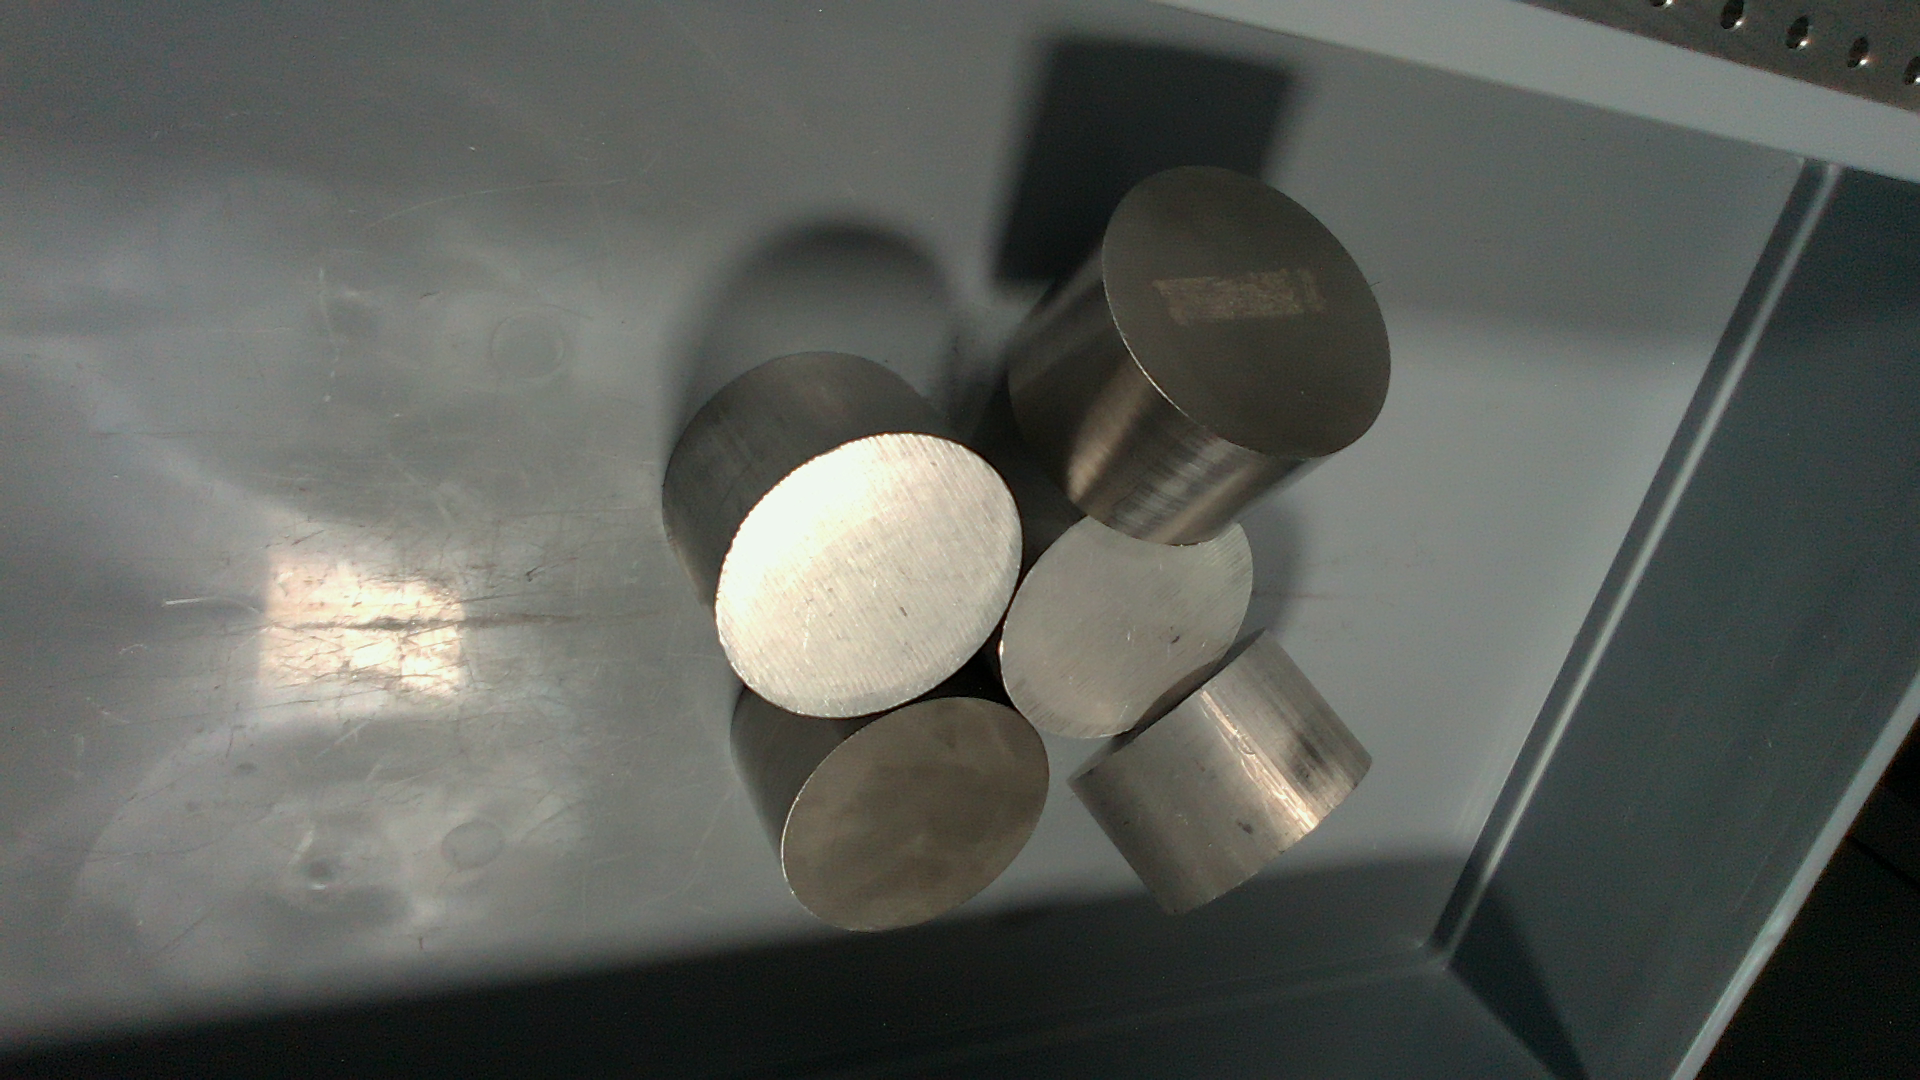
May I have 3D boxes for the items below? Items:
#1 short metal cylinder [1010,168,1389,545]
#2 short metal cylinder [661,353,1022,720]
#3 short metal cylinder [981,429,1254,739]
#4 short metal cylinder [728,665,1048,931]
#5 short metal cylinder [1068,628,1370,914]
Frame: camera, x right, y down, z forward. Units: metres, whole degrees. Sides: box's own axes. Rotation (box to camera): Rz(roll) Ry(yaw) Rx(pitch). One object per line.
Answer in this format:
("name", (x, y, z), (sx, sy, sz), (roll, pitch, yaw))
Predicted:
("short metal cylinder", (0.059, -0.045, 0.347), (0.080, 0.080, 0.050), (-3, 158, -27))
("short metal cylinder", (-0.031, -0.001, 0.353), (0.080, 0.050, 0.080), (-14, 124, -21))
("short metal cylinder", (0.037, 0.010, 0.397), (0.080, 0.050, 0.080), (-14, 124, -21))
("short metal cylinder", (-0.021, 0.065, 0.399), (0.080, 0.050, 0.080), (-14, 124, -21))
("short metal cylinder", (0.080, 0.071, 0.432), (0.080, 0.050, 0.080), (-37, 173, -5))
